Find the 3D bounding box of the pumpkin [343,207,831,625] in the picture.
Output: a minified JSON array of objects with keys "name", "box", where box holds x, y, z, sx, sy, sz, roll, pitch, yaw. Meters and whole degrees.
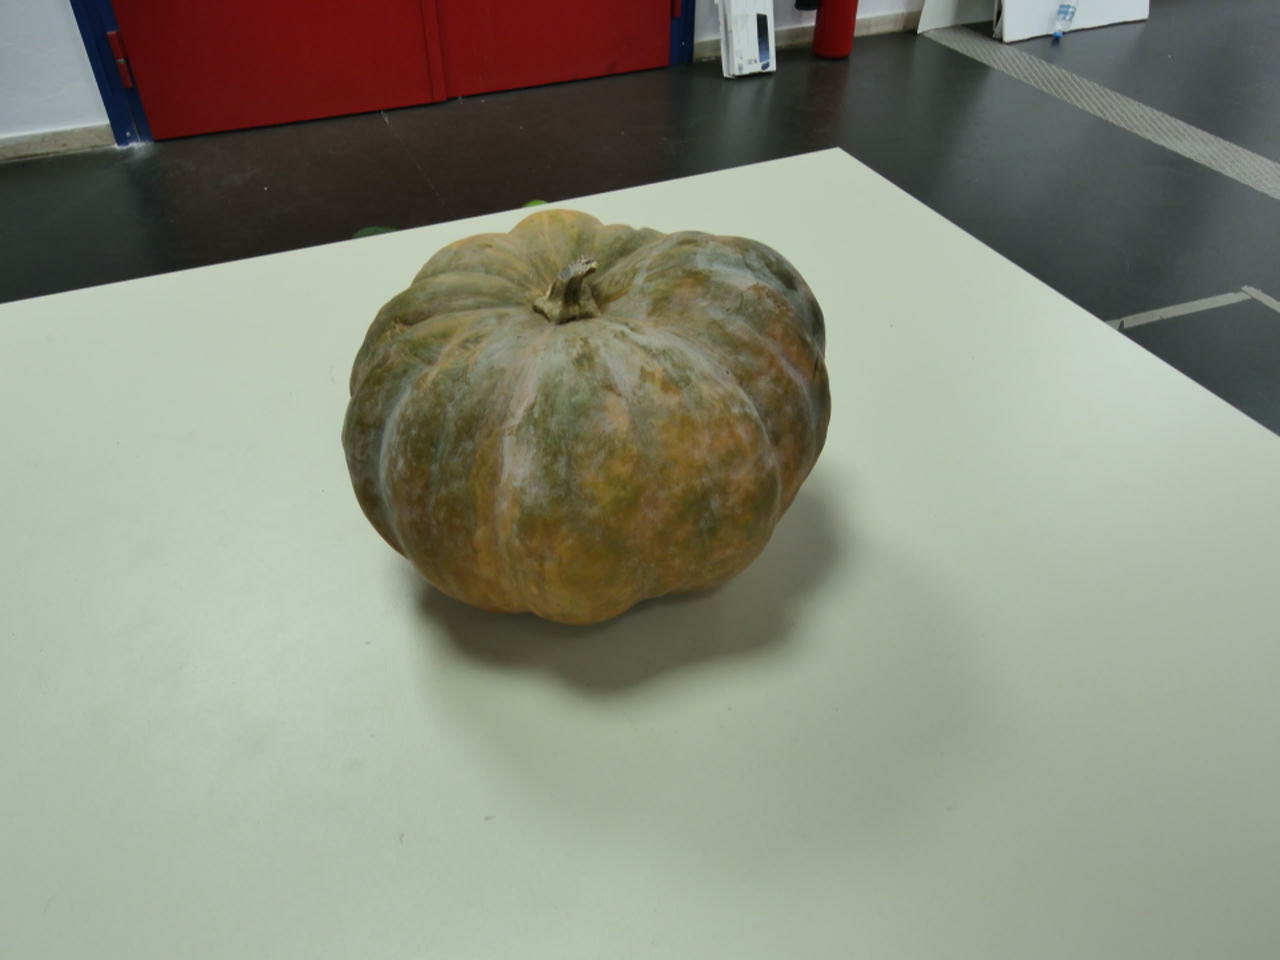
[{"name":"pumpkin","box":[-0.030,-0.038,0.519,0.252,0.169,0.251,0,39,0]}]
